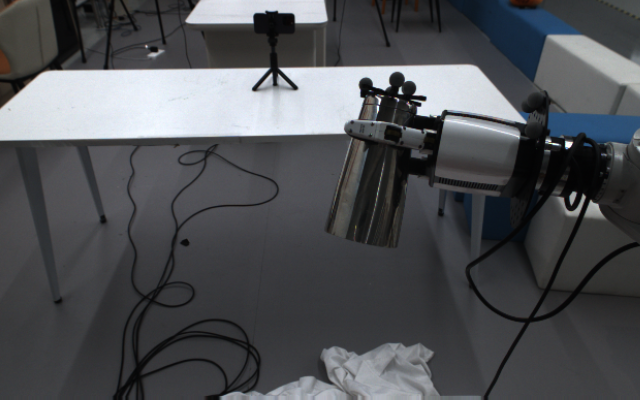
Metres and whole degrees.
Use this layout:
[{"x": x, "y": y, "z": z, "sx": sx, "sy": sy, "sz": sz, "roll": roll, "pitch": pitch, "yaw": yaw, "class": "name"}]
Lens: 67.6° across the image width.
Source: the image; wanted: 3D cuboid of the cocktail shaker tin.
[{"x": 0.070, "y": -0.038, "z": 0.594, "sx": 0.093, "sy": 0.170, "sz": 0.093, "roll": 12, "pitch": 3, "yaw": -1, "class": "cocktail shaker tin"}]
